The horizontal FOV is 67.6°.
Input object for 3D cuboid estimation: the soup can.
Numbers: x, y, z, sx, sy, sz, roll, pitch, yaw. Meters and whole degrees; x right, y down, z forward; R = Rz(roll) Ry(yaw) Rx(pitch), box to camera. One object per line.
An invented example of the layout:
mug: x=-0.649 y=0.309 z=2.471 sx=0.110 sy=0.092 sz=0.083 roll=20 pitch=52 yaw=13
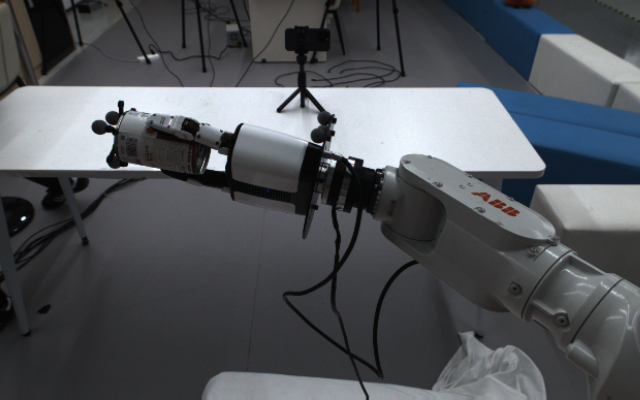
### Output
soup can: x=-0.193 y=-0.071 z=0.610 sx=0.101 sy=0.067 sz=0.067 roll=10 pitch=35 yaw=-1
